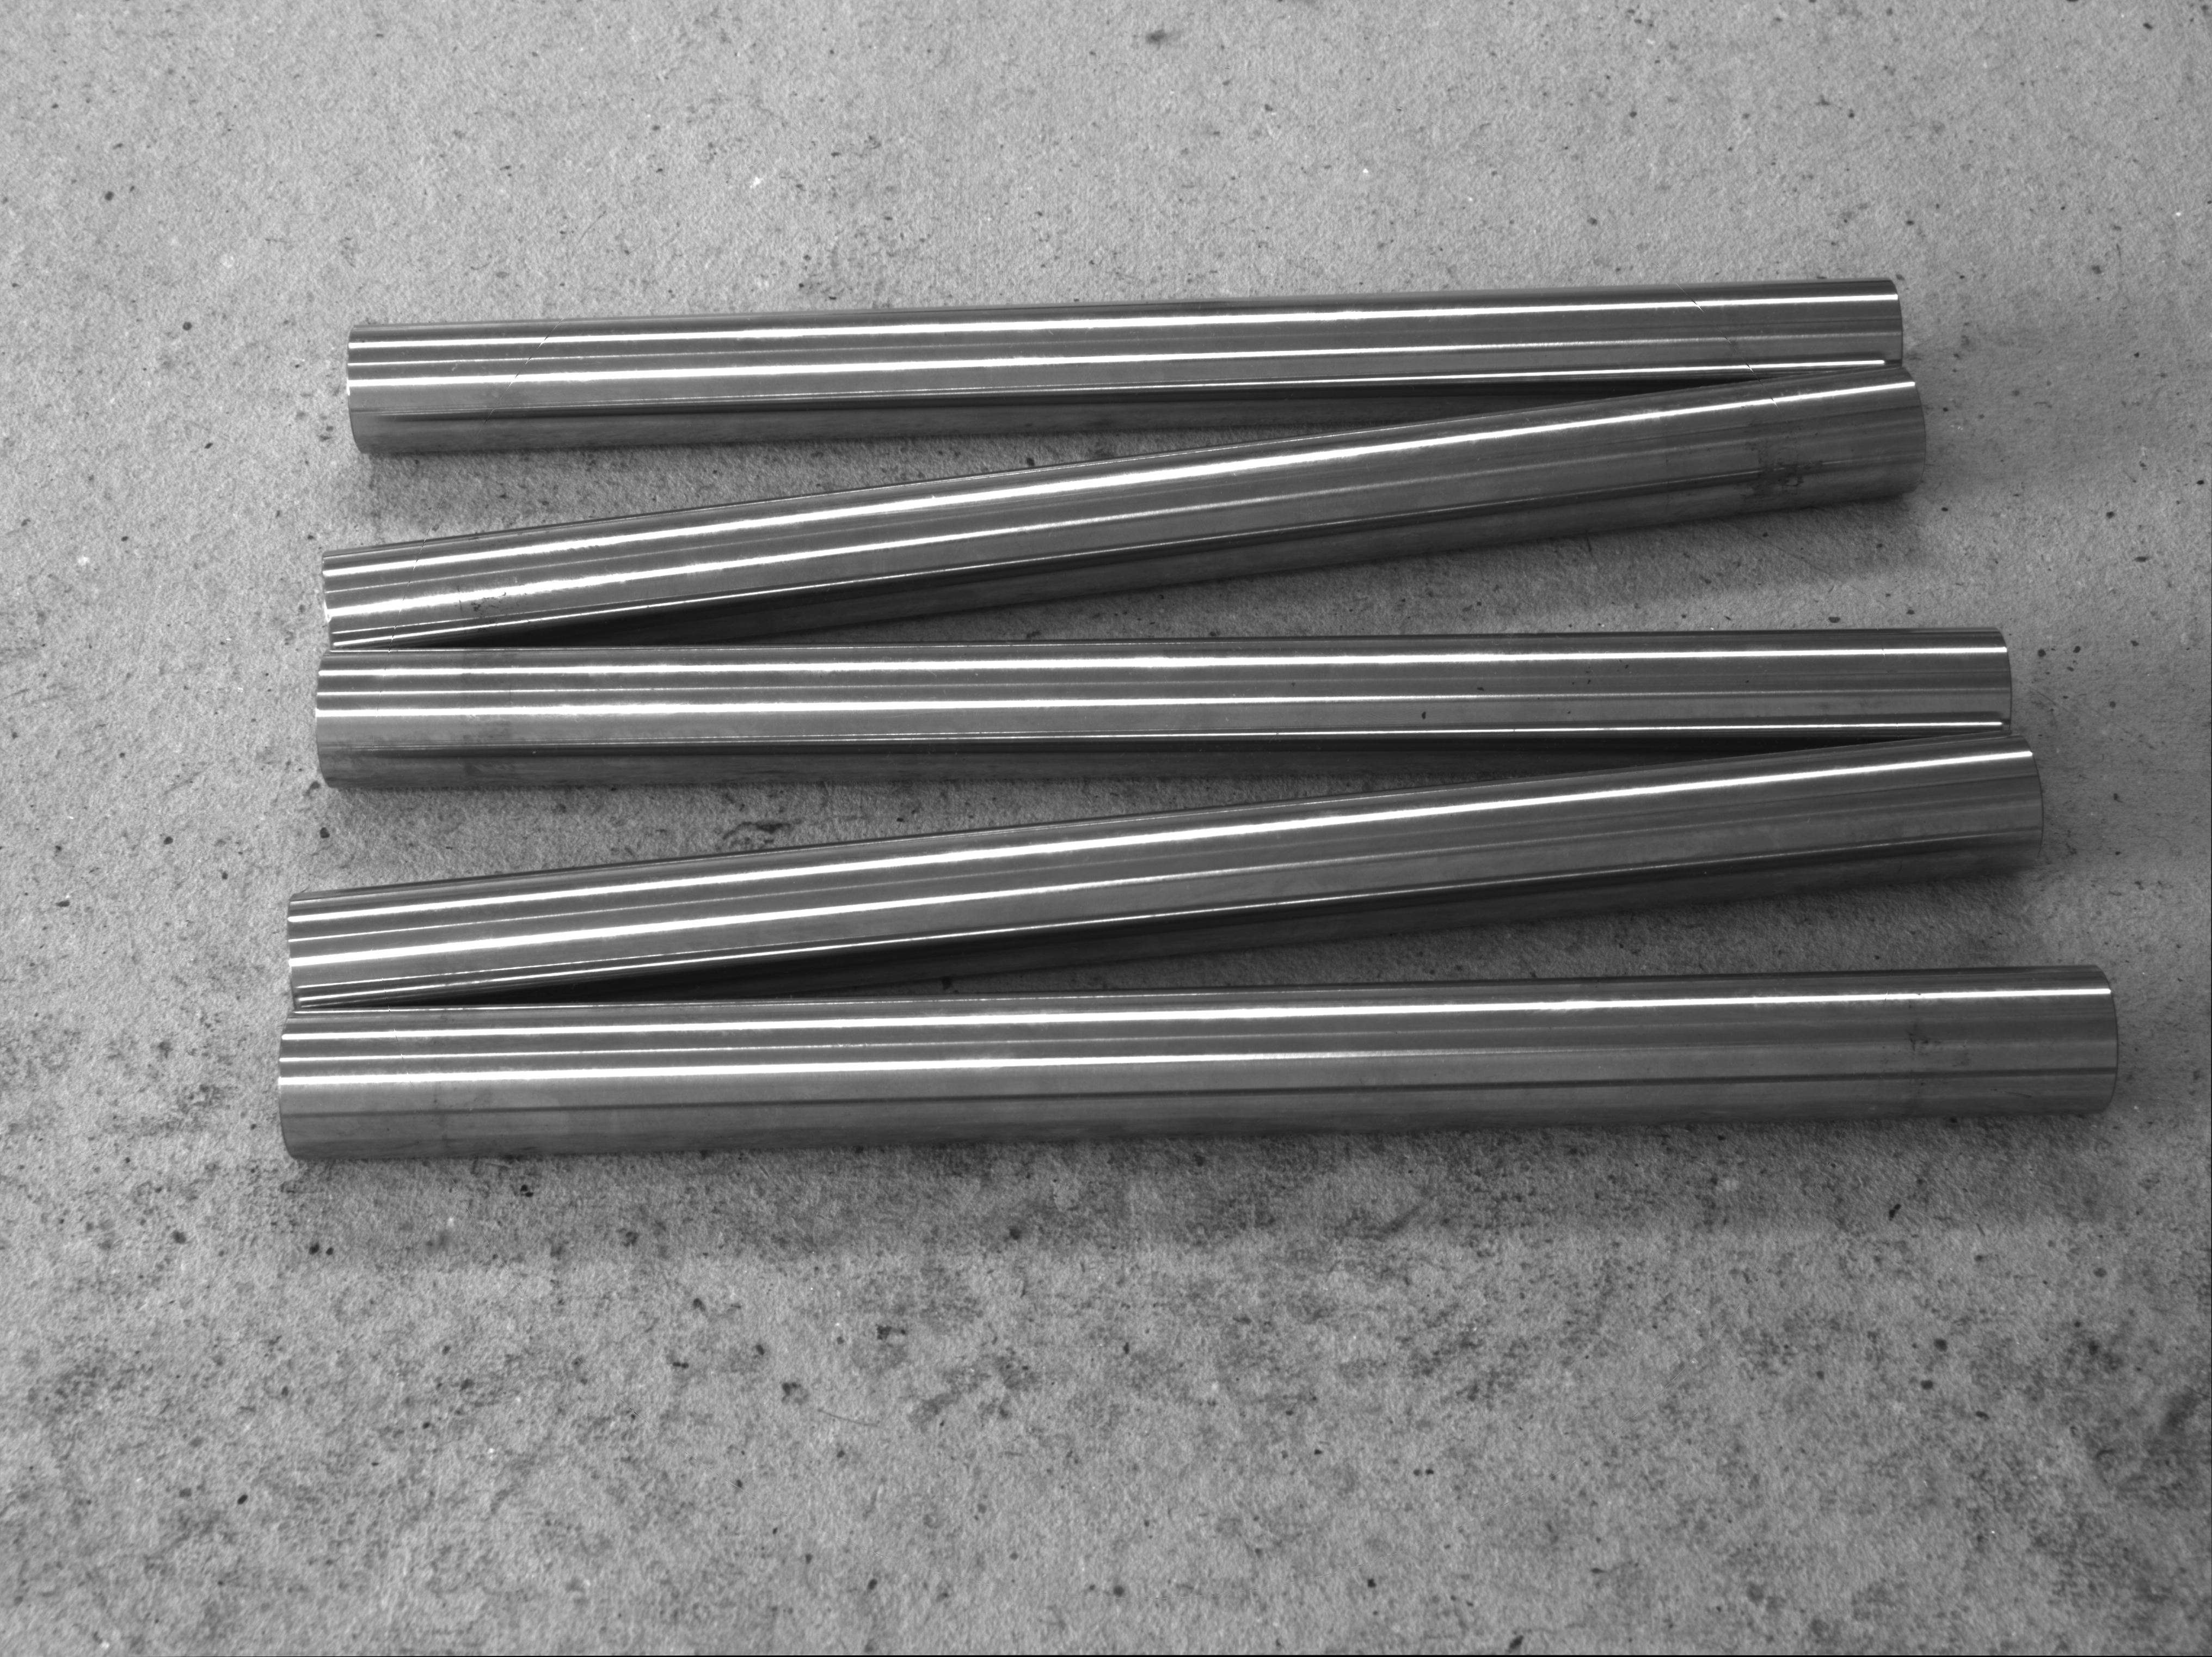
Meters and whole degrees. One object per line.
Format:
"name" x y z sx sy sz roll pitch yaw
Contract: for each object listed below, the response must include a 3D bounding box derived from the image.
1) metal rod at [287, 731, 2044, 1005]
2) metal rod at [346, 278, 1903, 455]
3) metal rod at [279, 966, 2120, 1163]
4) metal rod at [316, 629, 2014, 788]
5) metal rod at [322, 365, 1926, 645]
"metal rod" 0.012 0.009 0.634 0.300 0.025 0.025 -5 50 -5
"metal rod" 0.004 -0.091 0.719 0.300 0.025 0.025 -2 50 -2
"metal rod" 0.016 0.039 0.609 0.300 0.025 0.025 -1 50 -1
"metal rod" 0.011 -0.022 0.660 0.300 0.025 0.025 -1 50 -1
"metal rod" 0.006 -0.058 0.691 0.300 0.025 0.025 -7 50 -6
